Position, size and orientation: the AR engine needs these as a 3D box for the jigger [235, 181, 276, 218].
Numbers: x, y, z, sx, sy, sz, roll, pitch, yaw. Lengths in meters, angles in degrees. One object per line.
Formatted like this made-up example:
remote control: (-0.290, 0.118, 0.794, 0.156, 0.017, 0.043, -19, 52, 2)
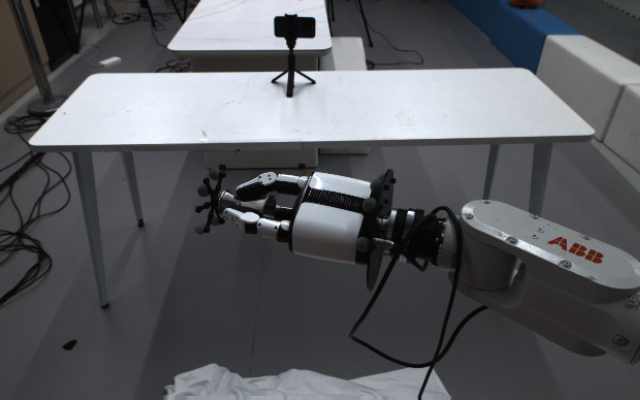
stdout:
jigger: (-0.094, 0.007, 0.663, 0.071, 0.043, 0.043, 8, 35, 17)
